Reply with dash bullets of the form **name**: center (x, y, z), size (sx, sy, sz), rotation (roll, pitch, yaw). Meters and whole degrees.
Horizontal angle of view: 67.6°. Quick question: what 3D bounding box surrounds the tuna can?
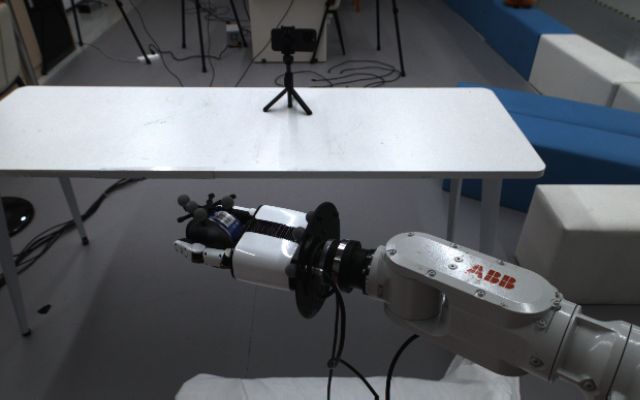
- **tuna can**: center (-0.146, 0.054, 0.695), size (0.085, 0.085, 0.034), rotation (17, 35, 20)
